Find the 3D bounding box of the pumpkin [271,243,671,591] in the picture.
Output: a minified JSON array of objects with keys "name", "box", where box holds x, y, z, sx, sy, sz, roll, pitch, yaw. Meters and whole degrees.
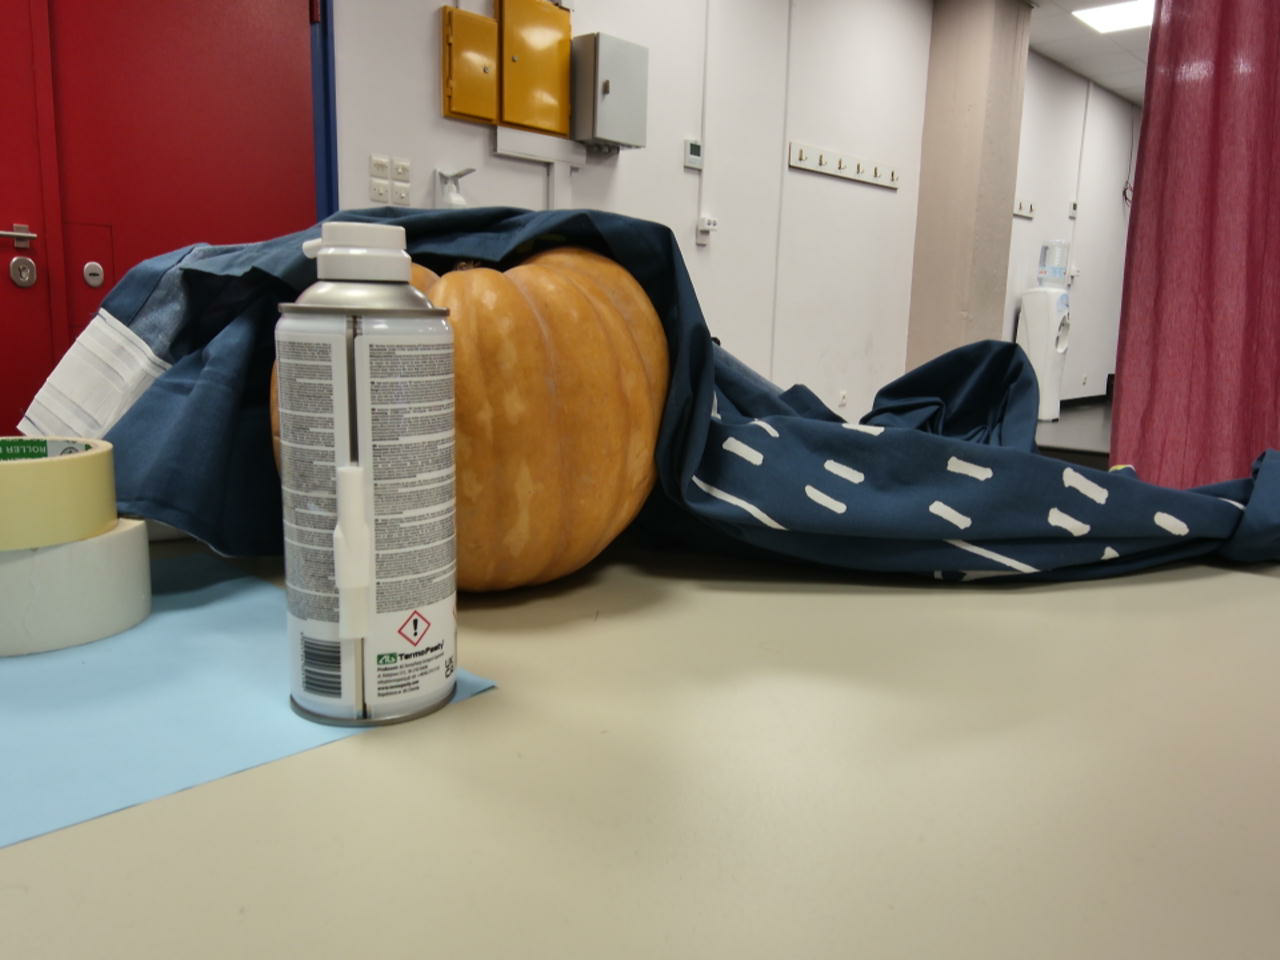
[{"name":"pumpkin","box":[-0.092,-0.038,0.572,0.230,0.194,0.230,0,8,0]}]
